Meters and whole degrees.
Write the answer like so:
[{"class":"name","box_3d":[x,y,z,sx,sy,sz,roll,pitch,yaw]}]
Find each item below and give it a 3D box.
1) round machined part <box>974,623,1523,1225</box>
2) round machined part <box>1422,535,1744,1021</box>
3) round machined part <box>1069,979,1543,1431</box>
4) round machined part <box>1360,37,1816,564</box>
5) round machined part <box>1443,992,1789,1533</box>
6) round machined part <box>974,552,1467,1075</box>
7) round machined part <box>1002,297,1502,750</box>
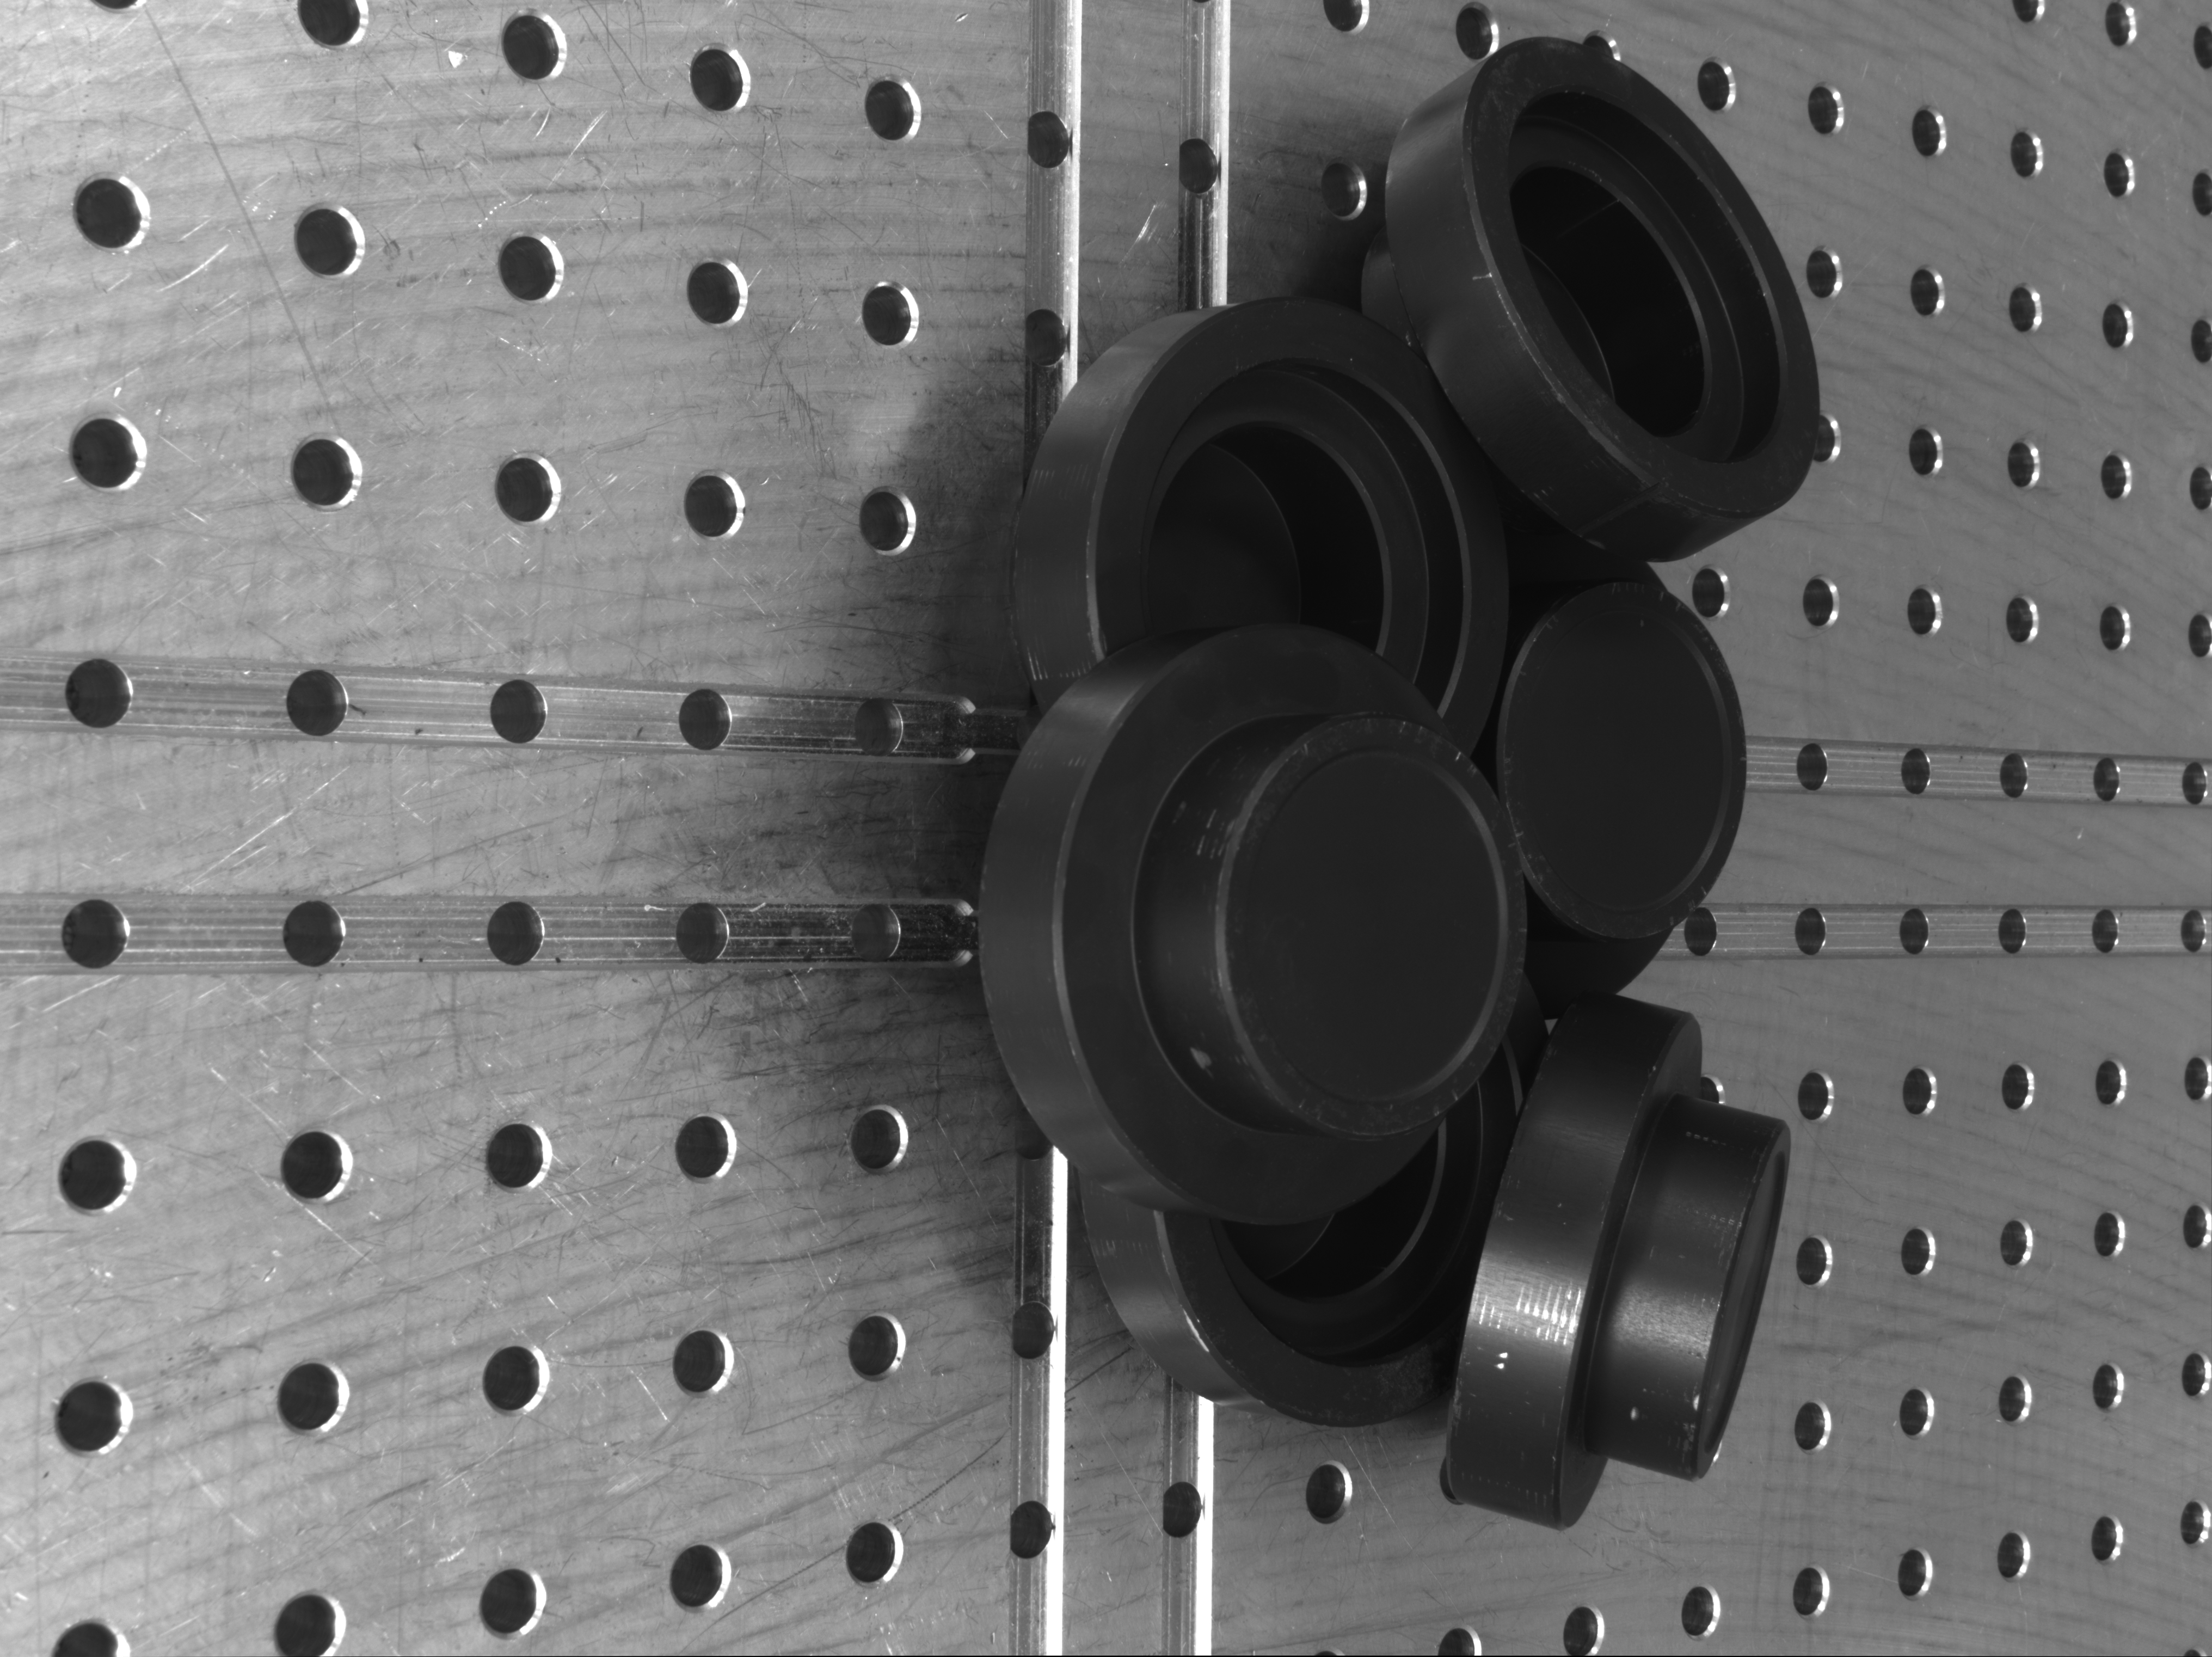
[{"class":"round machined part","box_3d":[0.030,0.016,0.598,0.098,0.042,0.098,0,90,-40]},{"class":"round machined part","box_3d":[0.083,-0.012,0.697,0.098,0.042,0.098,0,90,-40]},{"class":"round machined part","box_3d":[0.032,0.056,0.655,0.098,0.042,0.098,0,90,-40]},{"class":"round machined part","box_3d":[0.085,-0.094,0.684,0.098,0.042,0.098,24,53,-36]},{"class":"round machined part","box_3d":[0.097,0.082,0.677,0.098,0.042,0.098,13,90,-73]},{"class":"round machined part","box_3d":[0.016,0.002,0.641,0.098,0.042,0.098,0,90,-40]},{"class":"round machined part","box_3d":[0.021,-0.042,0.646,0.098,0.042,0.098,0,90,-40]}]
